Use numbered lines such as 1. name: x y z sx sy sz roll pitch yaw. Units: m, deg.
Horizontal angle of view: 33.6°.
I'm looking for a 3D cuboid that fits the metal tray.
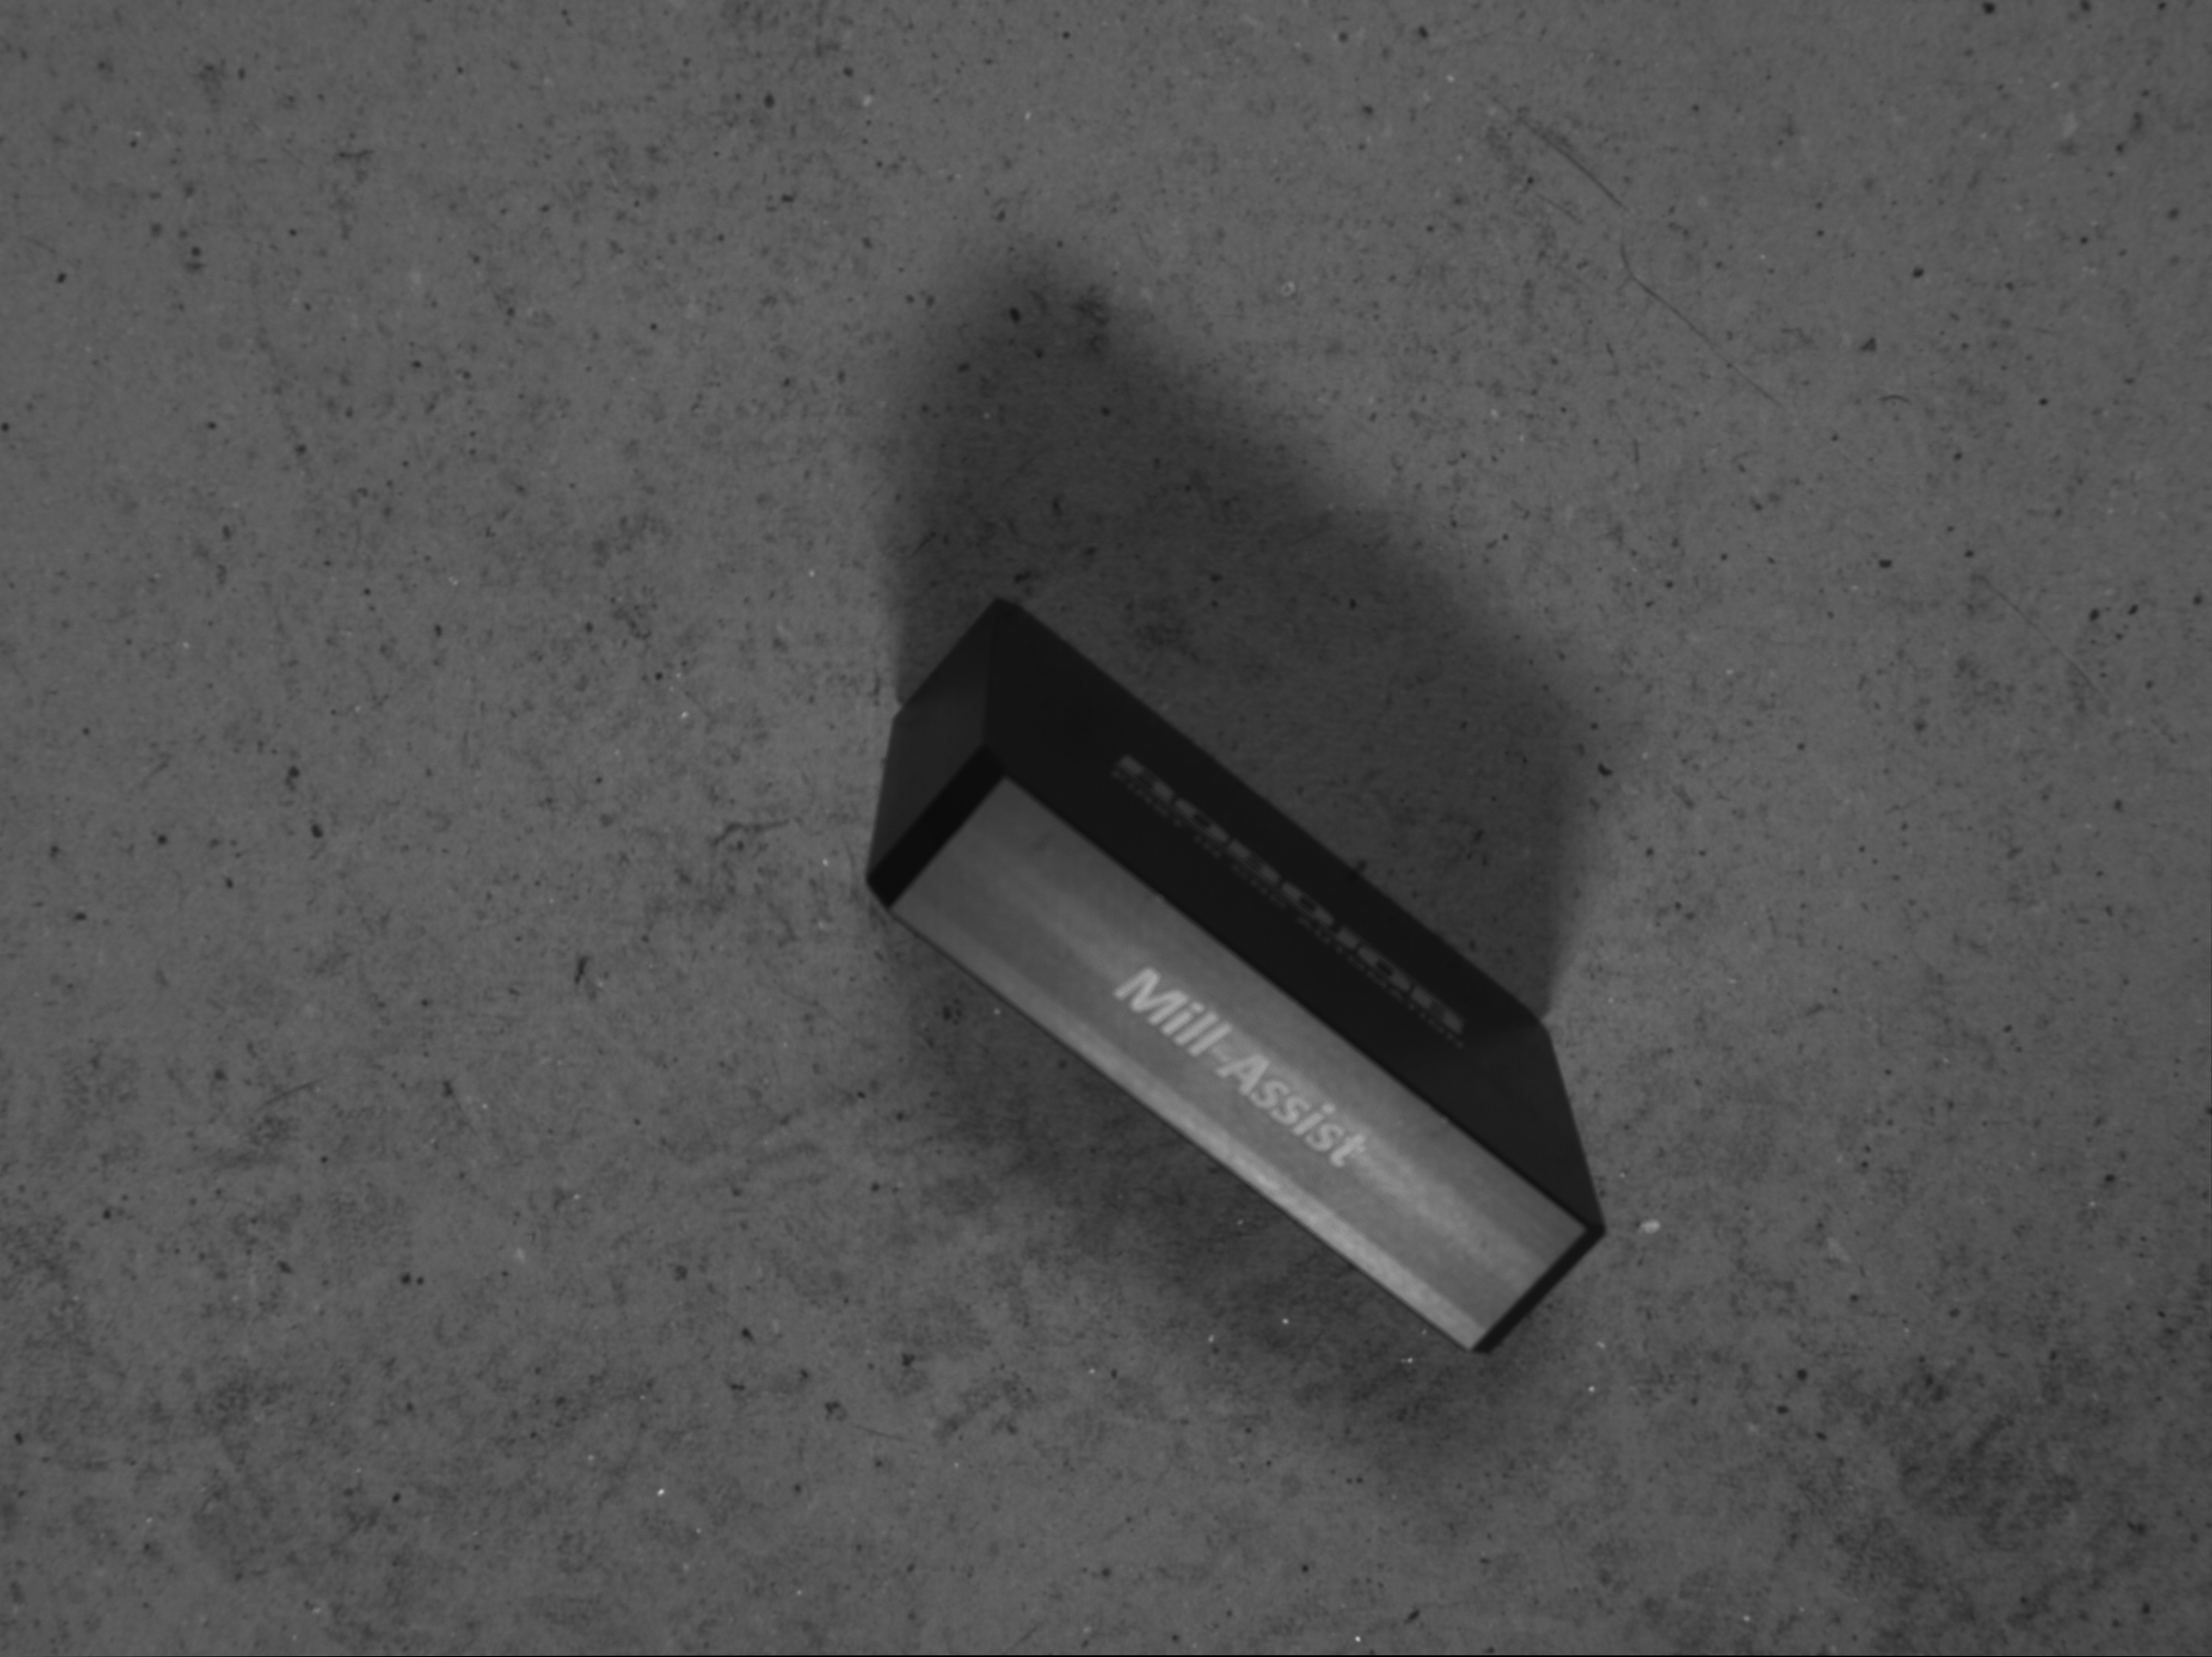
1. metal tray: 0.019 0.023 0.617 0.130 0.090 0.030 38 105 -13
